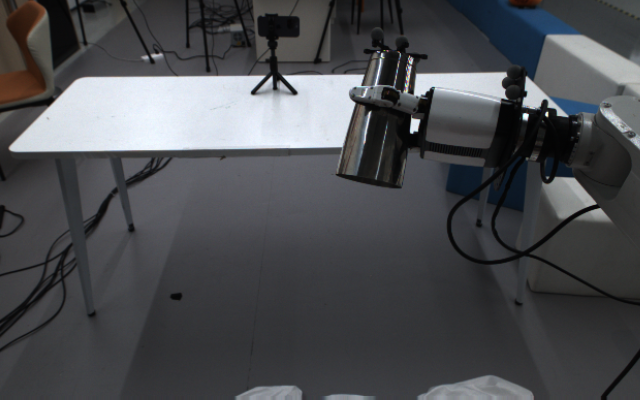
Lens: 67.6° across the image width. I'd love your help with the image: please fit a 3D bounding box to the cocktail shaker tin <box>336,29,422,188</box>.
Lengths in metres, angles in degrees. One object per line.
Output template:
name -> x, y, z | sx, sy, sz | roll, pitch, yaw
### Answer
cocktail shaker tin -> 0.084, -0.108, 0.655 | 0.093, 0.170, 0.093 | 12, -2, 0
